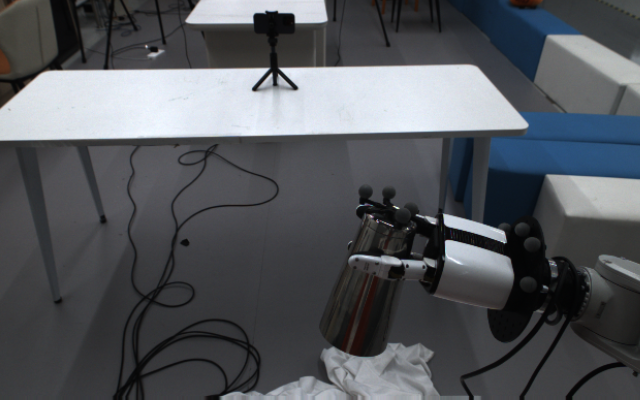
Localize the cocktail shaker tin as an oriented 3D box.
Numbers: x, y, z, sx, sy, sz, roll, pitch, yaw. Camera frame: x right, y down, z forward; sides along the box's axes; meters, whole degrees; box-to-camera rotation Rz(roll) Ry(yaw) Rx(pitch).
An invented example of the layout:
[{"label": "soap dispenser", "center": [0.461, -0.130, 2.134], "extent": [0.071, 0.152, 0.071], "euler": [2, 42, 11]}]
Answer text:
[{"label": "cocktail shaker tin", "center": [0.067, 0.096, 0.613], "extent": [0.093, 0.170, 0.093], "euler": [14, 18, -5]}]
